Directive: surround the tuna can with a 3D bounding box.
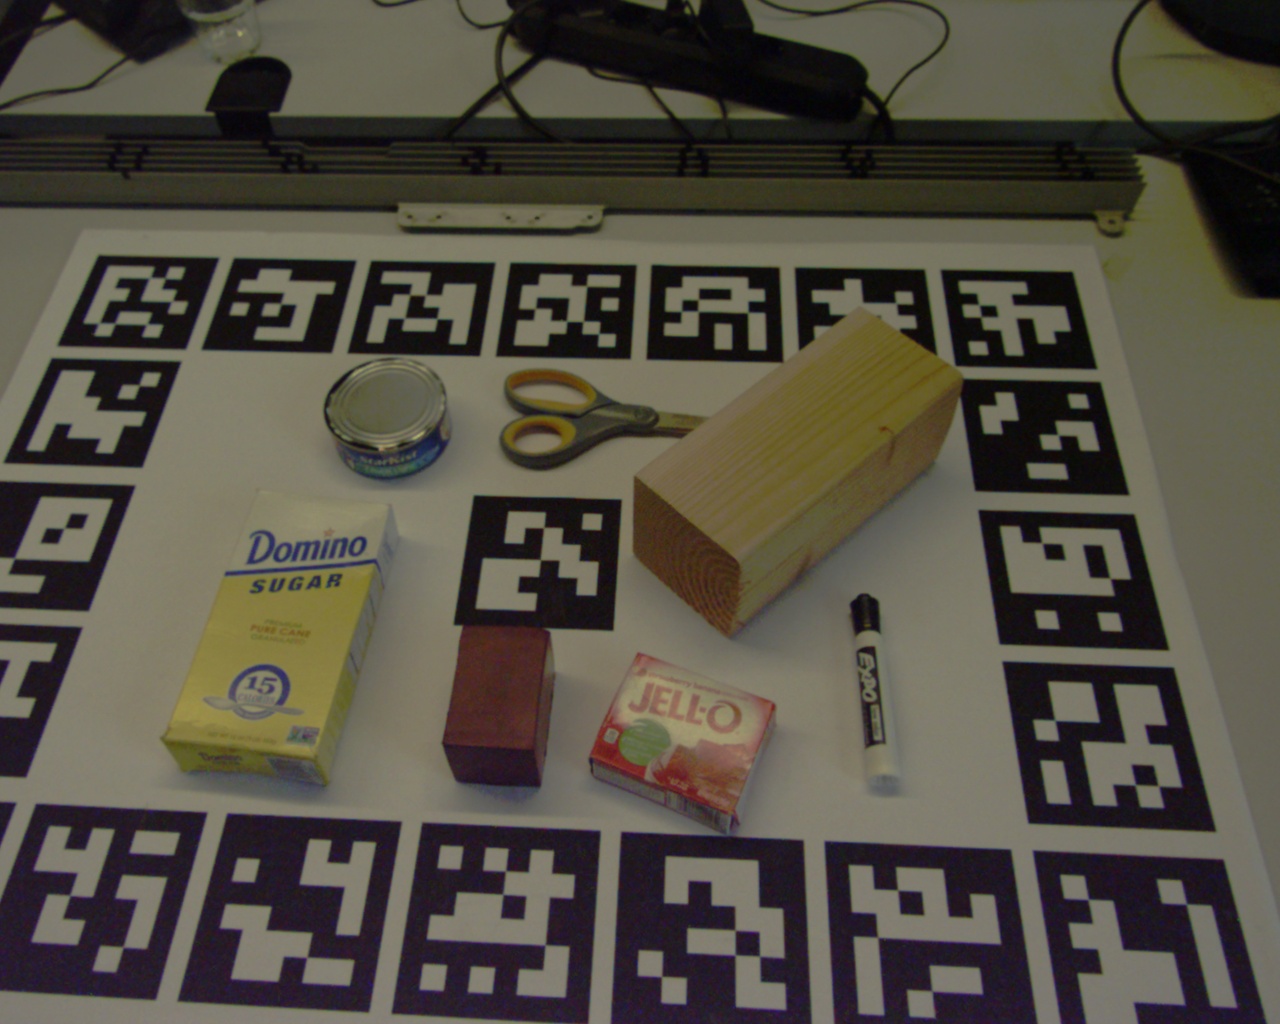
[{"bbox_3d":[-0.191,-0.059,0.840,0.086,0.033,0.086,-2,57,2],"label":"tuna can"}]

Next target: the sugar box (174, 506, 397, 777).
[{"bbox_3d":[-0.226,0.081,0.746,0.093,0.045,0.176,6,57,5],"label":"sugar box"}]

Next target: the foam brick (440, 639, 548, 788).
[{"bbox_3d":[-0.088,0.124,0.701,0.053,0.051,0.078,3,57,5],"label":"foam brick"}]

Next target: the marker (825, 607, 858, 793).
[{"bbox_3d":[0.127,0.115,0.719,0.020,0.019,0.121,3,59,4],"label":"marker"}]

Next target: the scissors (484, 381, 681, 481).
[{"bbox_3d":[-0.017,-0.053,0.842,0.204,0.016,0.088,7,57,10],"label":"scissors"}]

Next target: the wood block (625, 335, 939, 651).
[{"bbox_3d":[0.096,-0.015,0.771,0.205,0.090,0.091,-38,62,-21],"label":"wood block"}]

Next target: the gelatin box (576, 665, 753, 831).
[{"bbox_3d":[0.016,0.143,0.701,0.090,0.030,0.073,18,60,14],"label":"gelatin box"}]
